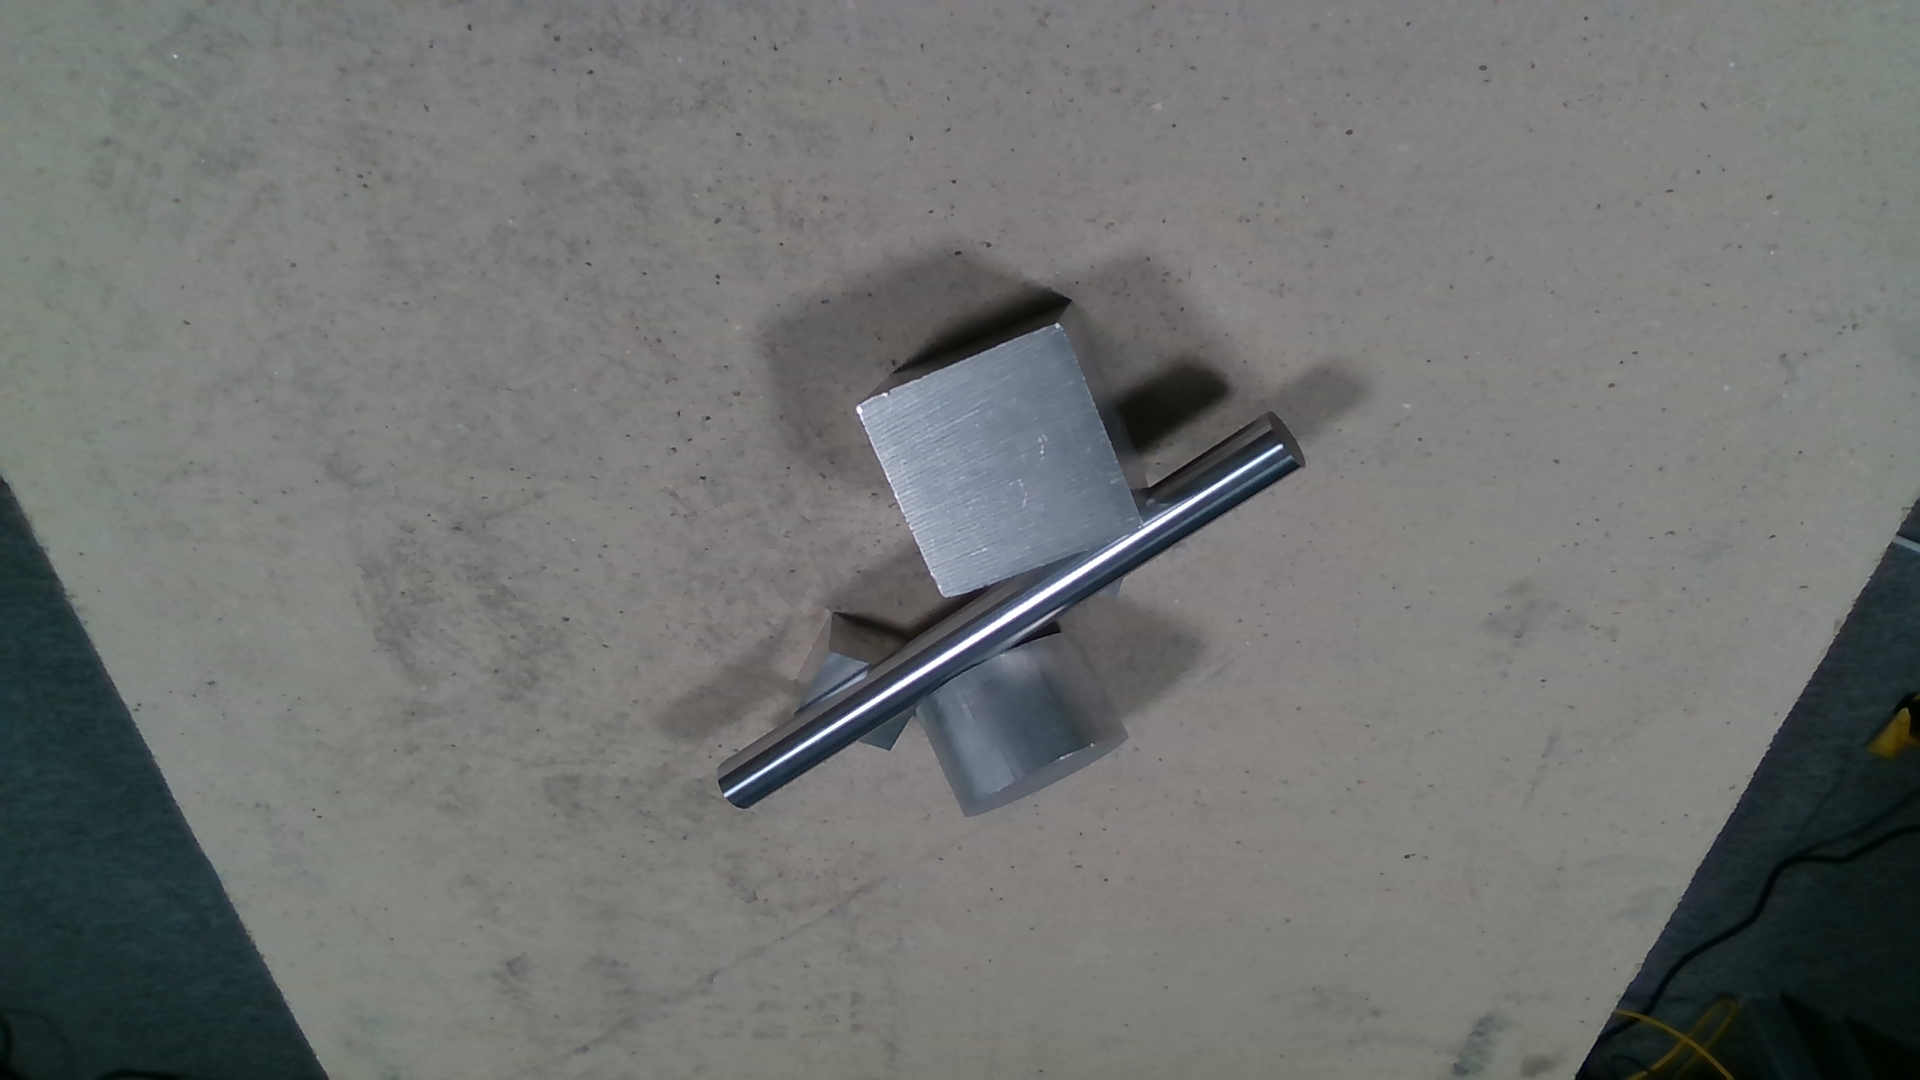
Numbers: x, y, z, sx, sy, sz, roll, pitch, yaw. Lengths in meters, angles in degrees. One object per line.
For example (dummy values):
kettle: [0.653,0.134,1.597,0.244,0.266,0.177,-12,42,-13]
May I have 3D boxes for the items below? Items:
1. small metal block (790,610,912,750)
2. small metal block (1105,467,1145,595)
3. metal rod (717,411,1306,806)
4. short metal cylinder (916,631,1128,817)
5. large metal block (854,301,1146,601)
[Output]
small metal block: [-0.045,0.065,0.634,0.050,0.025,0.050,19,127,-15]
small metal block: [0.047,-0.008,0.573,0.050,0.025,0.050,9,129,-8]
metal rod: [0.009,0.037,0.578,0.300,0.025,0.025,-34,122,25]
short metal cylinder: [0.027,0.081,0.605,0.080,0.050,0.080,-24,164,-7]
large metal block: [0.018,-0.034,0.513,0.080,0.050,0.080,-20,104,17]
